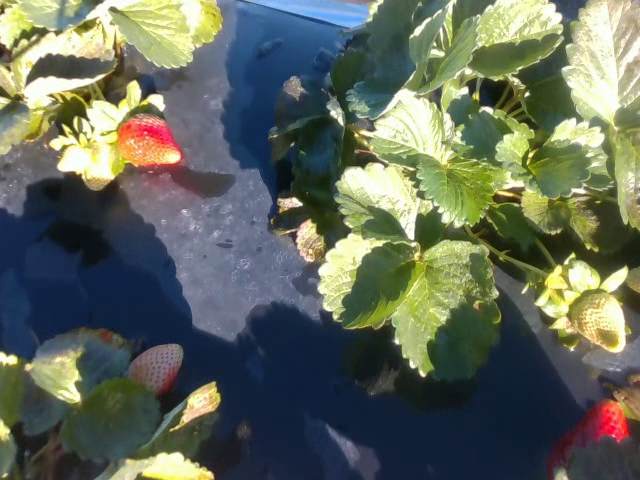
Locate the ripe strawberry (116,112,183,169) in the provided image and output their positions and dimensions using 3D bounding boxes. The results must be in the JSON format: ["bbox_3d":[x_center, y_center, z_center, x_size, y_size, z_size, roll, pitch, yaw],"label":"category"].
[{"bbox_3d":[-0.125,-0.072,0.464,0.064,0.050,0.052,27,15,26],"label":"ripe strawberry"}]
